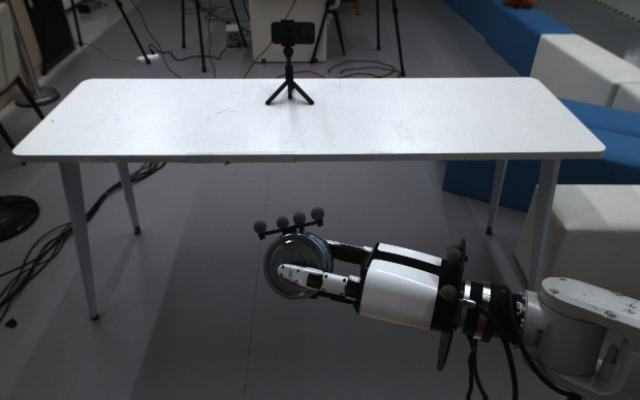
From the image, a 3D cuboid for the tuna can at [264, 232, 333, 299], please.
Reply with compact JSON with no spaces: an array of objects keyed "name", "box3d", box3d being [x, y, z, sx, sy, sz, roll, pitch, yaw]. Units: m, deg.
[{"name":"tuna can","box3d":[-0.023,0.088,0.614,0.085,0.085,0.034,12,3,14]}]
